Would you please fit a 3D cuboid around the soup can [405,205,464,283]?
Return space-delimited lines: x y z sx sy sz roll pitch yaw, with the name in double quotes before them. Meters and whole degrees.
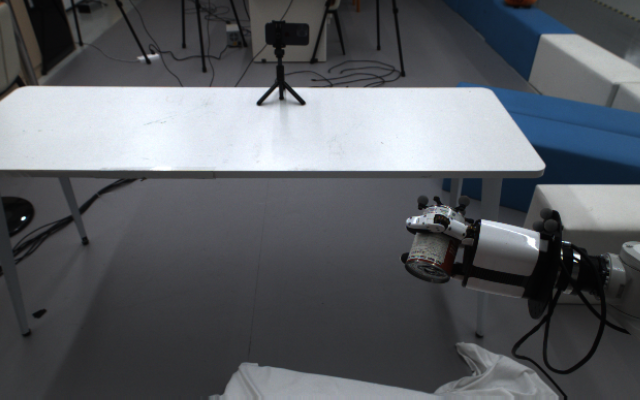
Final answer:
"soup can" 0.176 0.064 0.736 0.067 0.067 0.101 15 63 18
